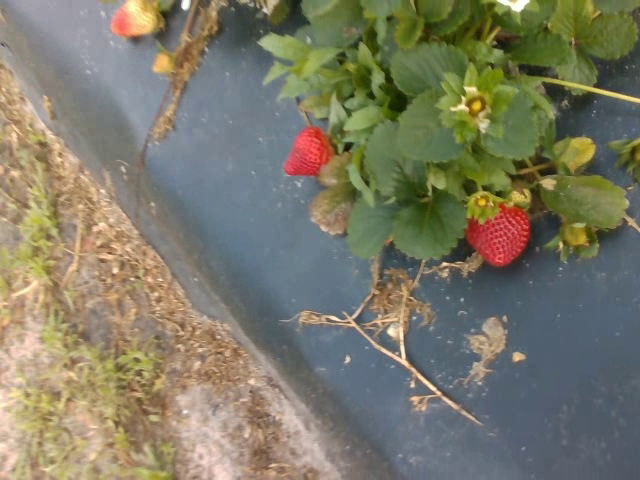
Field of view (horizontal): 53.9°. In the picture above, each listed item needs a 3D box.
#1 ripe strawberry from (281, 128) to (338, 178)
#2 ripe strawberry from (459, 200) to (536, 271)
[{"bbox_3d":[-0.008,-0.067,0.501,0.050,0.043,0.042,-40,-22,15],"label":"ripe strawberry"},{"bbox_3d":[0.115,-0.002,0.416,0.046,0.046,0.043,22,-37,-31],"label":"ripe strawberry"}]
